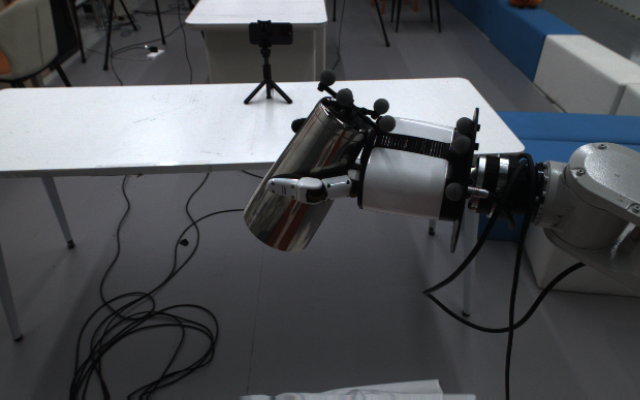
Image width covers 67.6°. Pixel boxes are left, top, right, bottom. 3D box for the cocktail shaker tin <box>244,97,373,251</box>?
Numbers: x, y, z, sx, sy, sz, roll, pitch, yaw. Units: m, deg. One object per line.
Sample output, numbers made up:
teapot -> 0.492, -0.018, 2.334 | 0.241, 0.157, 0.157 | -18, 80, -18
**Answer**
cocktail shaker tin -> -0.011, -0.034, 0.563 | 0.093, 0.170, 0.093 | 26, 32, -17
